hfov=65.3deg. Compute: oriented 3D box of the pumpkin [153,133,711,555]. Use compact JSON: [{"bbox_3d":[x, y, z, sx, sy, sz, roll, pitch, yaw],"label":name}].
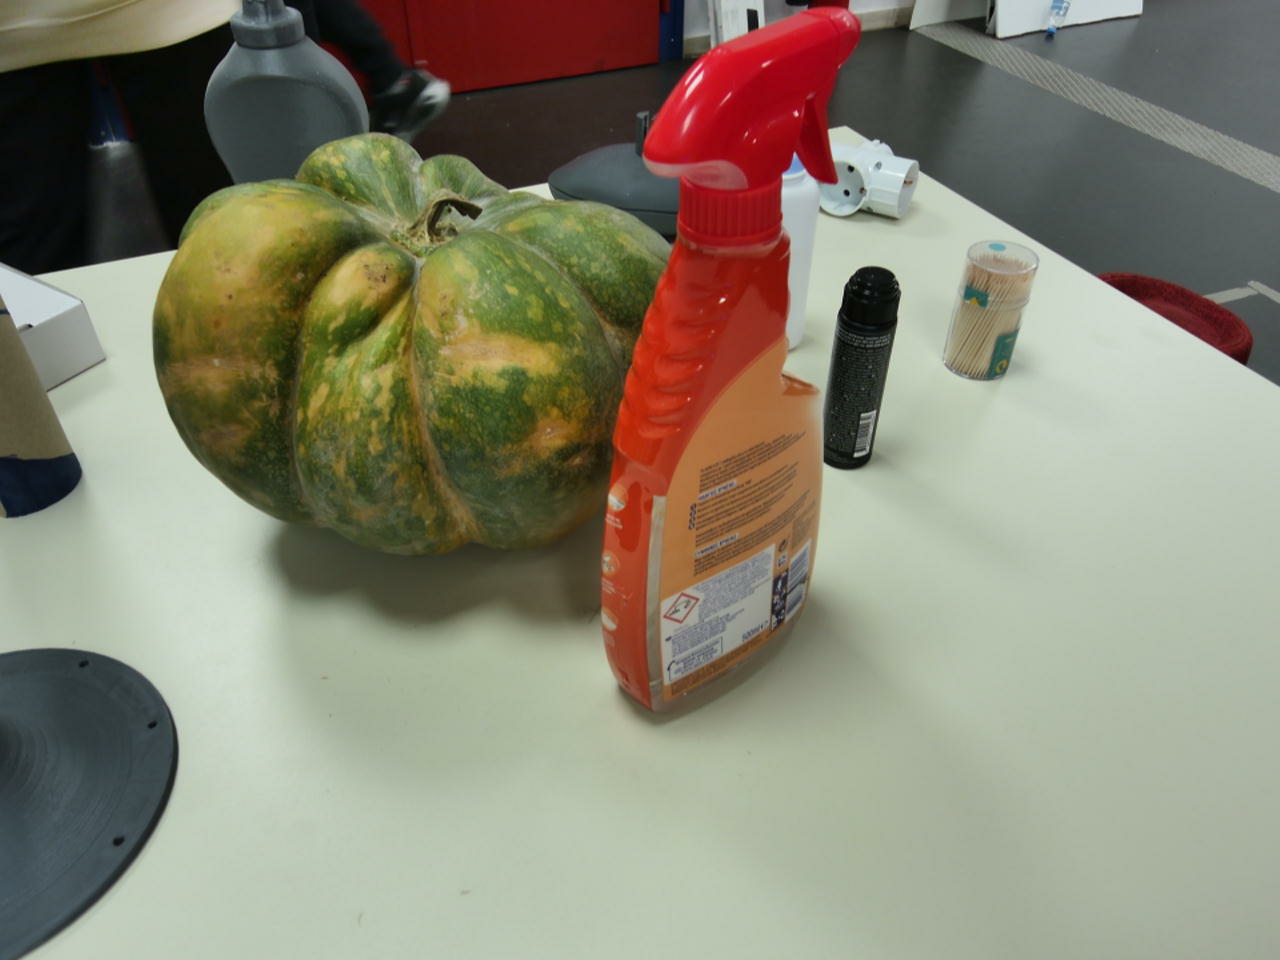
[{"bbox_3d":[-0.099,-0.073,0.491,0.270,0.173,0.237,8,39,9],"label":"pumpkin"}]
